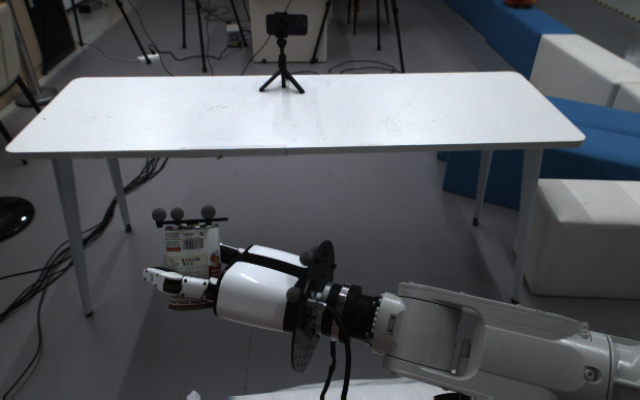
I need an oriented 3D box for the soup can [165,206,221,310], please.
[{"bbox_3d":[-0.157,0.083,0.607,0.067,0.101,0.067,-3,-2,0],"label":"soup can"}]
